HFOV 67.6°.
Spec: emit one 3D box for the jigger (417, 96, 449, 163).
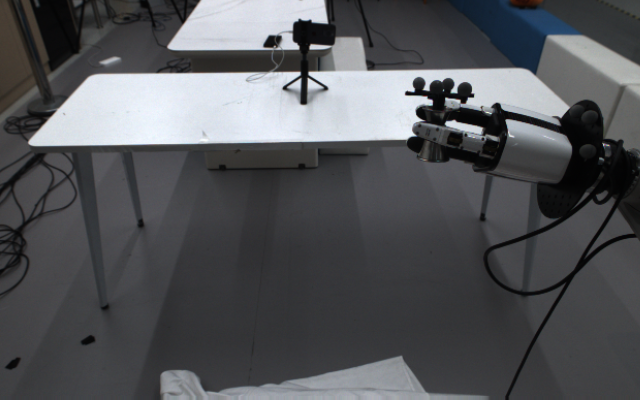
[{"bbox_3d":[0.152,-0.090,0.646,0.043,0.071,0.043,1,20,0],"label":"jigger"}]
